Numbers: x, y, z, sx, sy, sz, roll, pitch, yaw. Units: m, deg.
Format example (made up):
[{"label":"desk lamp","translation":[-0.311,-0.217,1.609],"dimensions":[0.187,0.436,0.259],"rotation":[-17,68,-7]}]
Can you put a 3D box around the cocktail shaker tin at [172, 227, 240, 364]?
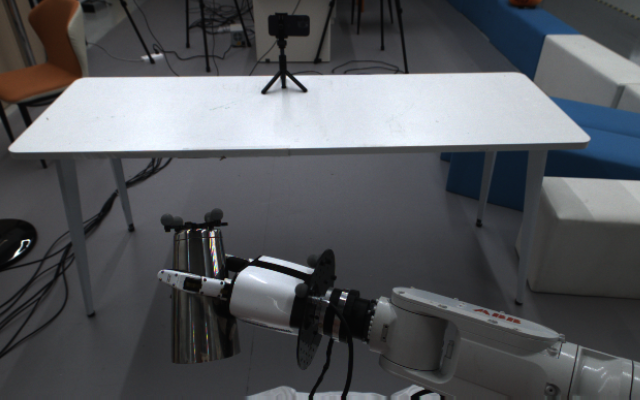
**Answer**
[{"label":"cocktail shaker tin","translation":[-0.163,0.129,0.666],"dimensions":[0.093,0.170,0.093],"rotation":[-6,-7,-1]}]
